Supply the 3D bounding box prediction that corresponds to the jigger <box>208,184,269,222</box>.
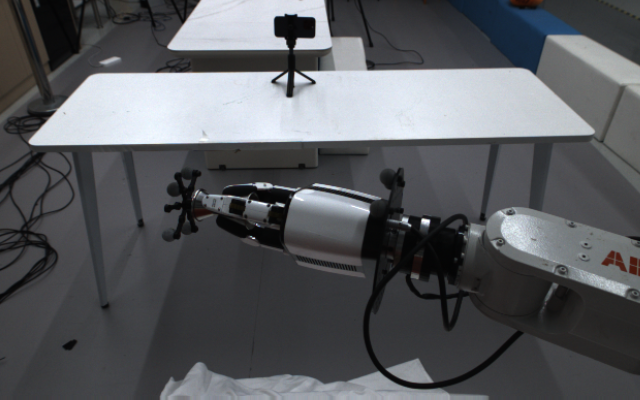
[{"bbox_3d":[-0.106,0.006,0.567,0.071,0.043,0.043,5,35,14],"label":"jigger"}]
